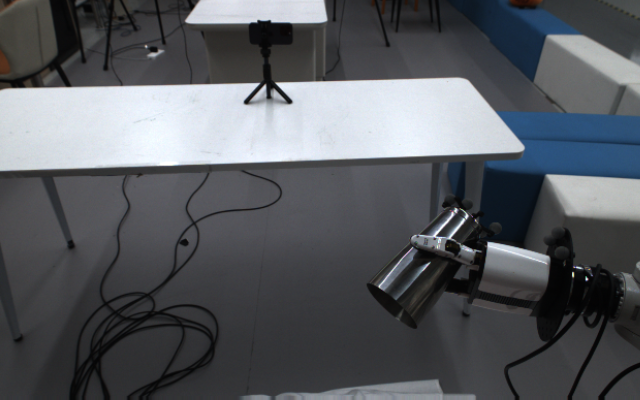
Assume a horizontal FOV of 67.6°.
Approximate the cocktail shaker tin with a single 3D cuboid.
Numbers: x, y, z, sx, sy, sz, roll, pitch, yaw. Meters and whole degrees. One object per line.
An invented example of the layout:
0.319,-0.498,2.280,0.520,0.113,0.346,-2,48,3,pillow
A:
0.157,0.085,0.700,0.170,0.093,0.093,-43,50,-14,cocktail shaker tin
